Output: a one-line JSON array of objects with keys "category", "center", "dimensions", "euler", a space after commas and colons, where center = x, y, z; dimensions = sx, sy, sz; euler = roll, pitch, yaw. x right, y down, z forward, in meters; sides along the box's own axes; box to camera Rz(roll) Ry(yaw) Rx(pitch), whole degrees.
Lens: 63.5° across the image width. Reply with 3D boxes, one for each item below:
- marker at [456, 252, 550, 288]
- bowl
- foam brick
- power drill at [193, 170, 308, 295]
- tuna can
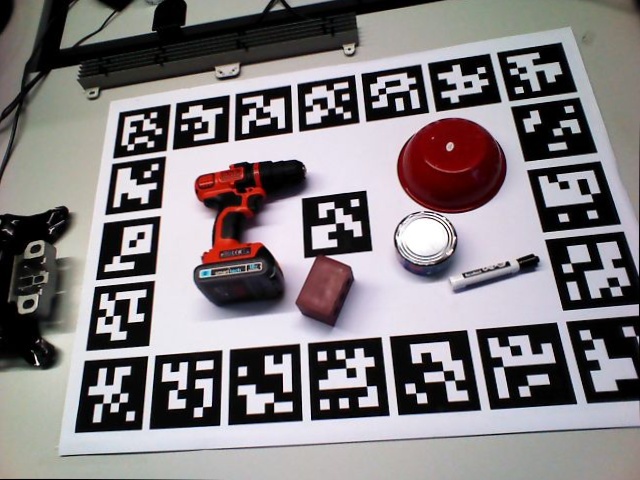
[{"category": "marker", "center": [0.243, 0.039, 0.684], "dimensions": [0.121, 0.019, 0.019], "euler": [-16, 66, 4]}, {"category": "bowl", "center": [0.198, -0.124, 0.758], "dimensions": [0.162, 0.055, 0.161], "euler": [-7, 58, 12]}, {"category": "foam brick", "center": [0.015, 0.071, 0.708], "dimensions": [0.051, 0.053, 0.077], "euler": [17, 72, 17]}, {"category": "power drill", "center": [-0.105, -0.019, 0.768], "dimensions": [0.185, 0.057, 0.186], "euler": [-7, 63, 5]}, {"category": "tuna can", "center": [0.155, -0.001, 0.713], "dimensions": [0.086, 0.034, 0.085], "euler": [-4, 66, 8]}]
